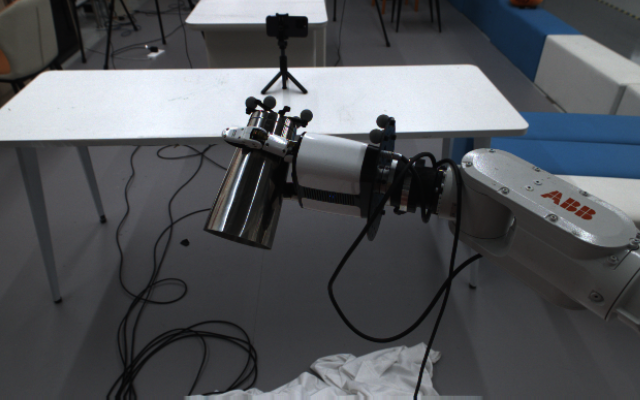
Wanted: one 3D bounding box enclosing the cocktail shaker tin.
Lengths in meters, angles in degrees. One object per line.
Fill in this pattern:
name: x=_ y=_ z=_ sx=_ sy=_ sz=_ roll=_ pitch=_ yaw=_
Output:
cocktail shaker tin: x=-0.083 y=-0.031 z=0.645 sx=0.093 sy=0.093 sz=0.170 roll=13 pitch=77 yaw=15
